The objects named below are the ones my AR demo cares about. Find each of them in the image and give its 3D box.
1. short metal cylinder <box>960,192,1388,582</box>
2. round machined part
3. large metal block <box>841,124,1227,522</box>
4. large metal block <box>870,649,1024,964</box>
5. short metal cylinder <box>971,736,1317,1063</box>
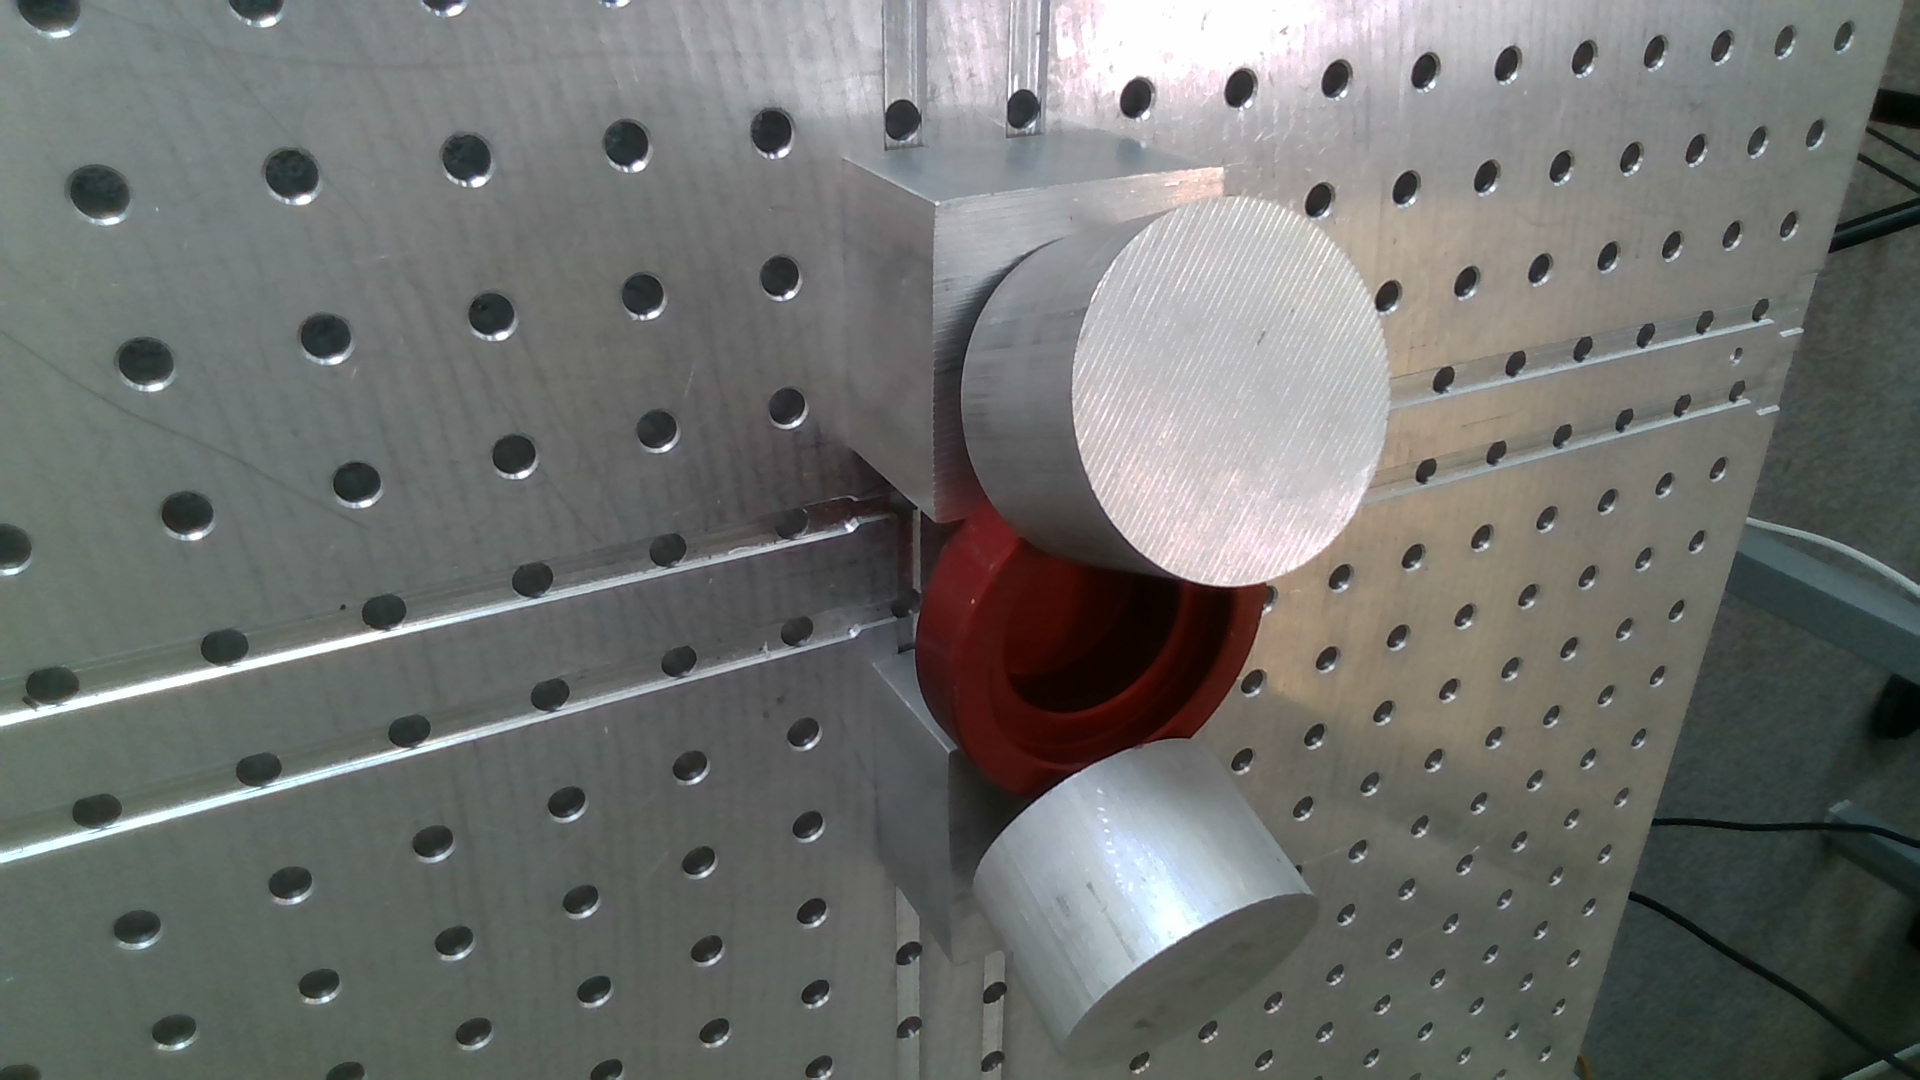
[{"bbox_3d":[0.047,-0.033,0.307,0.080,0.050,0.080,-2,95,-25],"label":"short metal cylinder"},{"bbox_3d":[0.031,0.017,0.372,0.098,0.042,0.098,-14,122,-25],"label":"round machined part"},{"bbox_3d":[0.017,-0.059,0.355,0.080,0.050,0.080,-14,121,-25],"label":"large metal block"},{"bbox_3d":[0.021,0.072,0.428,0.080,0.050,0.080,-15,122,-24],"label":"large metal block"},{"bbox_3d":[0.050,0.100,0.380,0.080,0.050,0.080,-22,144,-17],"label":"short metal cylinder"}]
